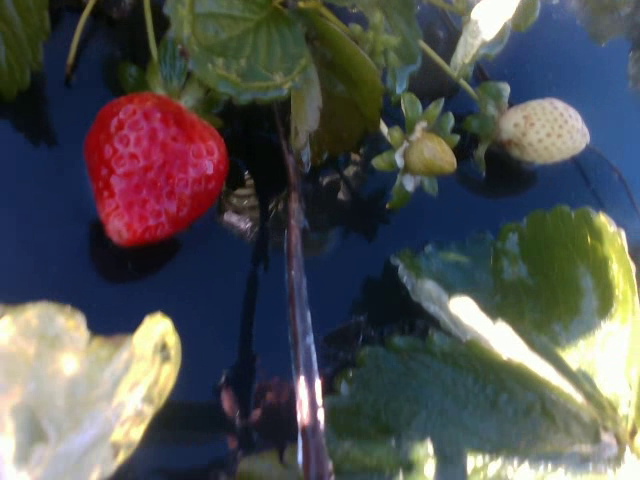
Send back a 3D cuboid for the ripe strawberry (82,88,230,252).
[{"bbox_3d":[-0.038,-0.015,0.145,0.039,0.047,0.040,25,-29,-24],"label":"ripe strawberry"}]
